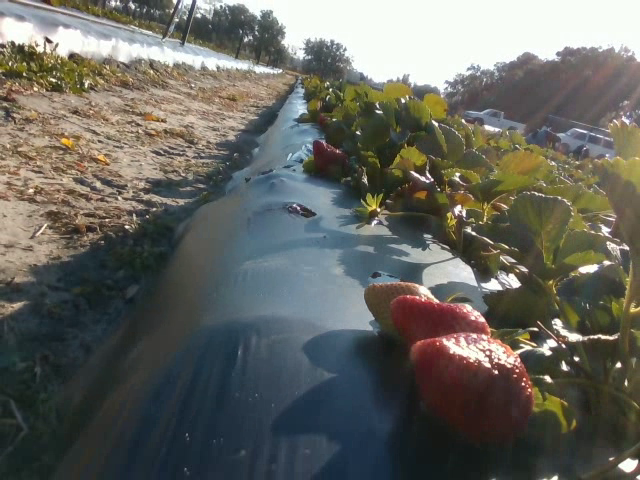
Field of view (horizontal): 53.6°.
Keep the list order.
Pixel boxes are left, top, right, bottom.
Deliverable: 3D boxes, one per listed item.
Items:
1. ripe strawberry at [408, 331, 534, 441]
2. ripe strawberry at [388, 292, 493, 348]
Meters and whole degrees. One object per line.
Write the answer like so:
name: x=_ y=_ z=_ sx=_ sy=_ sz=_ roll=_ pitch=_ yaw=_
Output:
ripe strawberry: x=0.058 y=0.055 z=0.251 sx=0.057 sy=0.051 sz=0.067 roll=-2 pitch=-31 yaw=43
ripe strawberry: x=0.058 y=0.044 z=0.304 sx=0.061 sy=0.043 sz=0.050 roll=33 pitch=34 yaw=7
